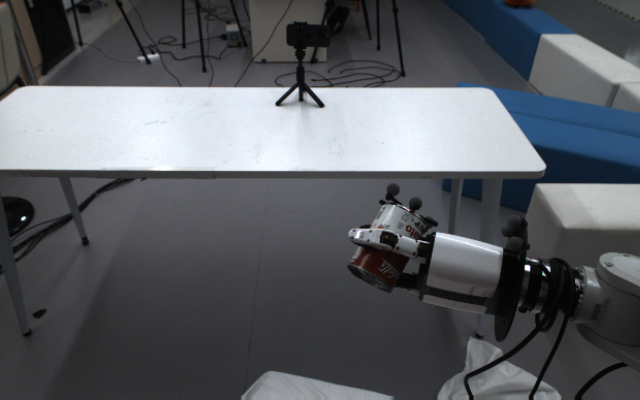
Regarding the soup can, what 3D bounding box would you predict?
[{"bbox_3d":[0.091,0.062,0.643,0.067,0.067,0.101,24,72,28],"label":"soup can"}]
